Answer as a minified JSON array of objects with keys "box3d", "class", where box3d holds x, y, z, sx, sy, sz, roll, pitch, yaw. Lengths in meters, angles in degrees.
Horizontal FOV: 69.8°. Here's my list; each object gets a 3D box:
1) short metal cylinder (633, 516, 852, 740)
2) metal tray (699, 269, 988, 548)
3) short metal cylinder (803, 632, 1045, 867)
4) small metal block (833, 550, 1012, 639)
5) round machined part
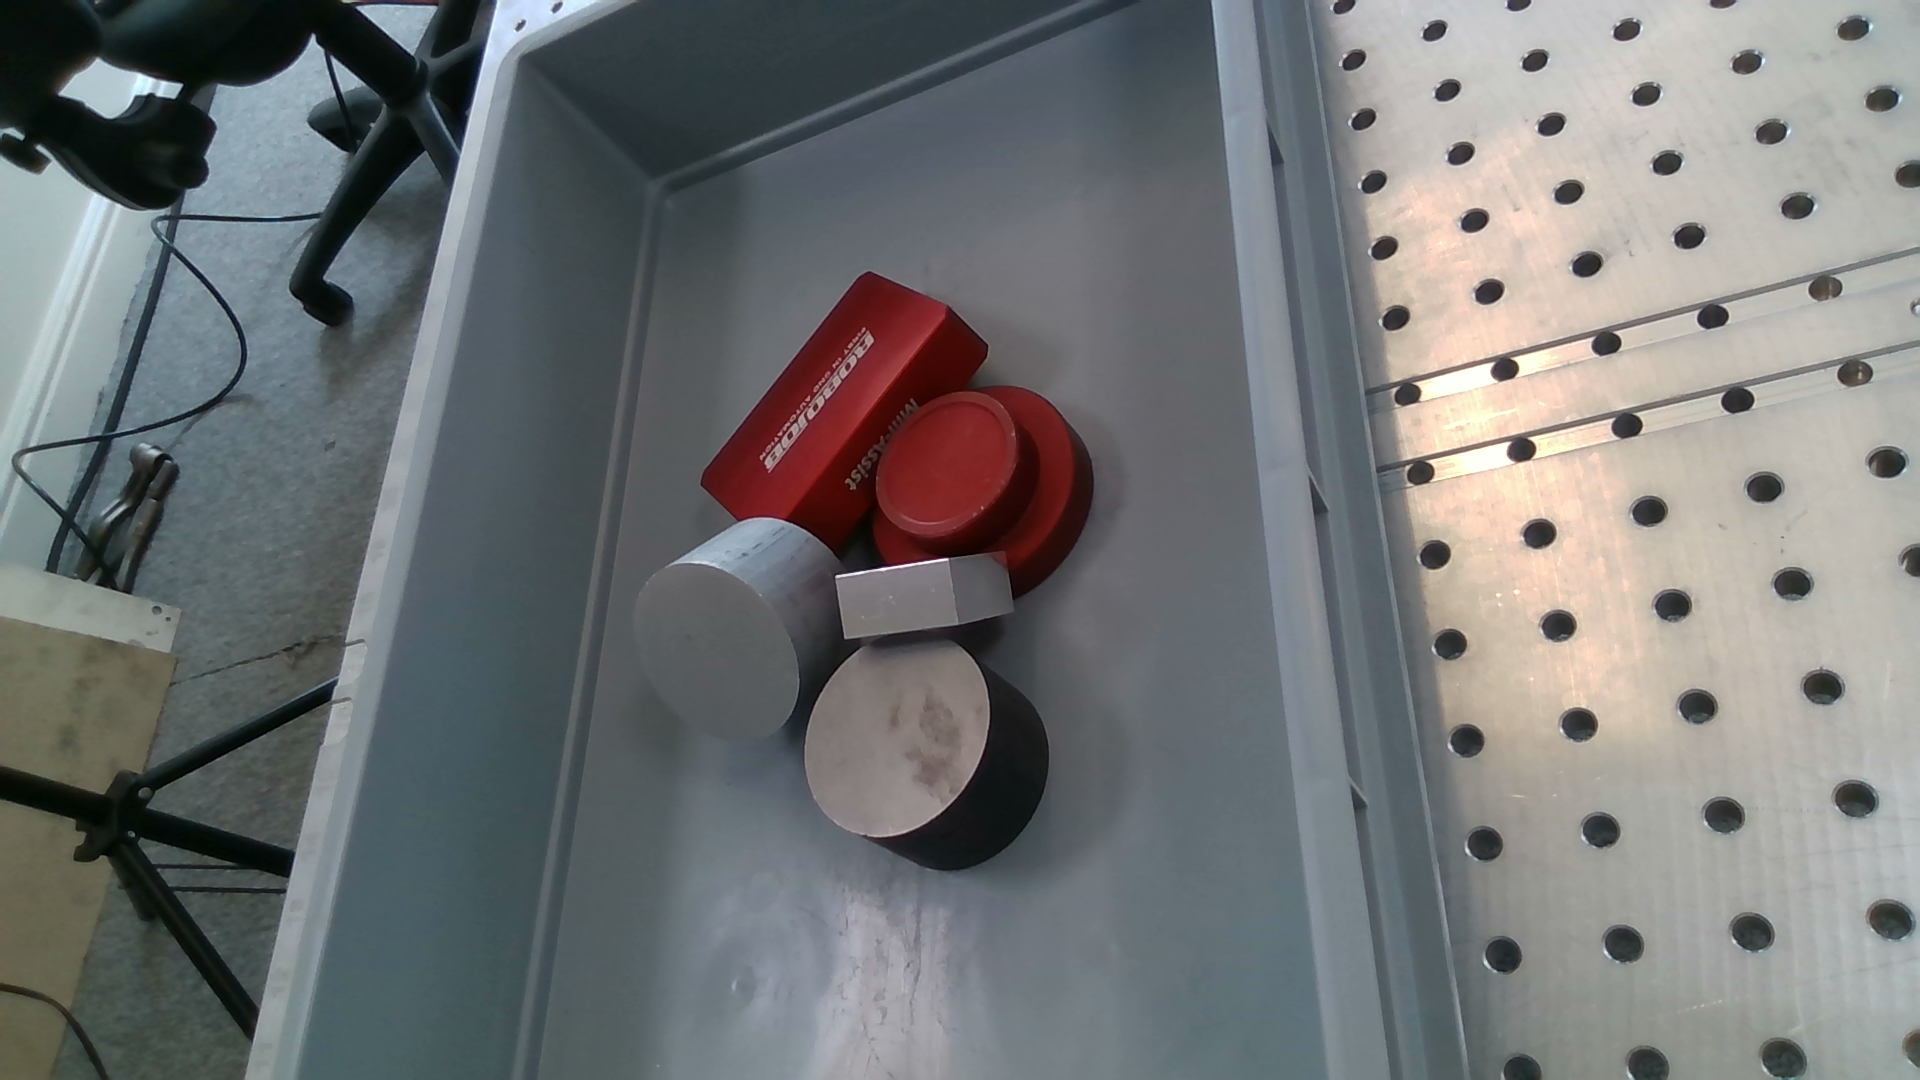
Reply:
[{"box3d":[-0.089,0.036,0.576,0.080,0.080,0.050,-5,20,30],"class":"short metal cylinder"},{"box3d":[-0.056,-0.057,0.631,0.130,0.030,0.090,-52,36,-2],"class":"metal tray"},{"box3d":[-0.013,0.081,0.534,0.080,0.050,0.080,-14,59,25],"class":"short metal cylinder"},{"box3d":[-0.014,0.021,0.542,0.050,0.050,0.025,-9,89,27],"class":"small metal block"},{"box3d":[0.003,-0.024,0.584,0.098,0.042,0.098,-14,59,25],"class":"round machined part"}]
